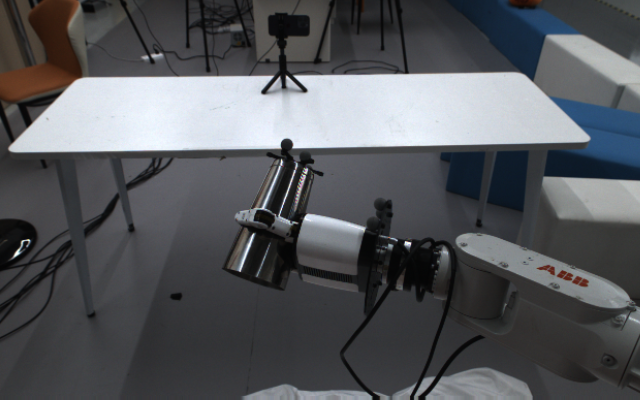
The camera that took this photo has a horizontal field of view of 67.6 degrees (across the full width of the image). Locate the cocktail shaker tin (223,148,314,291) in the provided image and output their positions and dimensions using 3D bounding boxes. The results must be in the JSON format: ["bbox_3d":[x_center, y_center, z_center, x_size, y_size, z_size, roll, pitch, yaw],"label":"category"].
[{"bbox_3d":[-0.066,0.033,0.684,0.093,0.093,0.170,14,73,17],"label":"cocktail shaker tin"}]
